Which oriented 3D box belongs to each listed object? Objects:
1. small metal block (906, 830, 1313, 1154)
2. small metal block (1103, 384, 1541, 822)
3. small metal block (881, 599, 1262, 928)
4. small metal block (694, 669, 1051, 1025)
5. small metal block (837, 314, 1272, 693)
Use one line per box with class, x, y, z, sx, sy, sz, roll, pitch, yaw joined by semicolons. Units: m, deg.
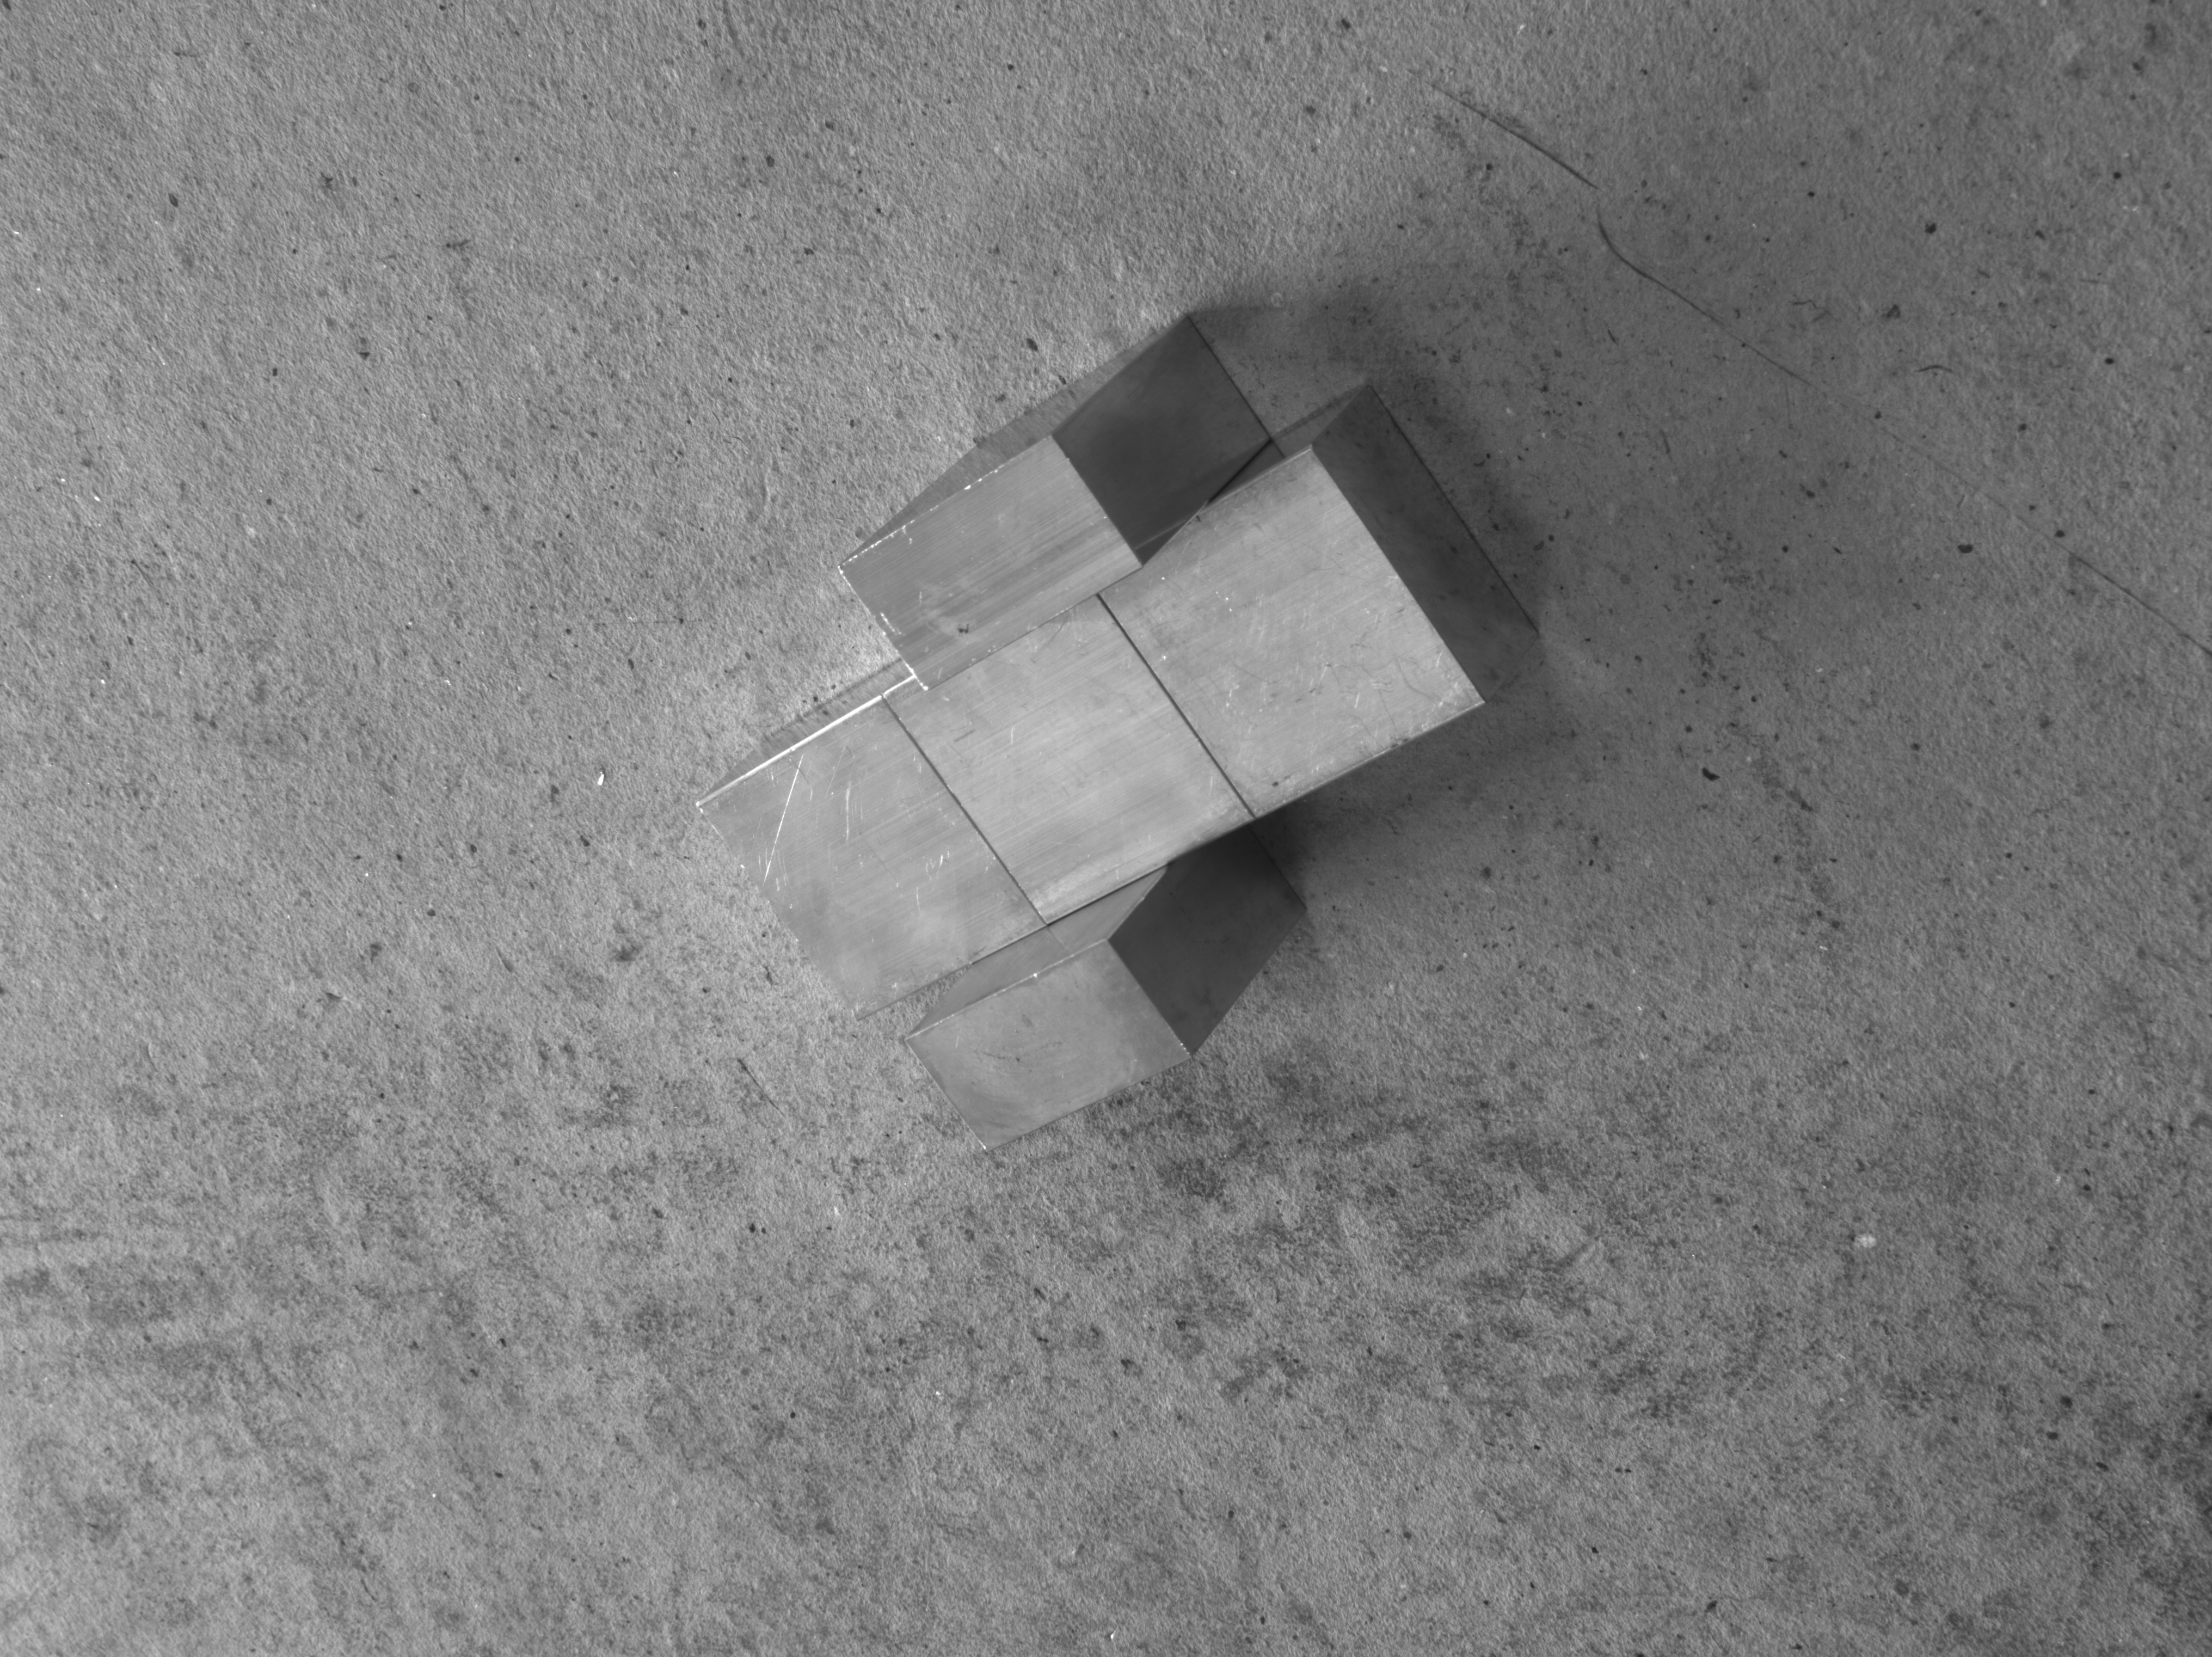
small metal block;0.001;0.026;0.642;0.050;0.050;0.025;-28;102;38
small metal block;0.034;-0.036;0.602;0.050;0.025;0.050;-28;103;37
small metal block;-0.002;-0.018;0.632;0.050;0.025;0.050;-28;103;37
small metal block;-0.037;0.001;0.662;0.050;0.025;0.050;-28;103;37
small metal block;-0.008;-0.053;0.599;0.050;0.050;0.025;-27;103;38
